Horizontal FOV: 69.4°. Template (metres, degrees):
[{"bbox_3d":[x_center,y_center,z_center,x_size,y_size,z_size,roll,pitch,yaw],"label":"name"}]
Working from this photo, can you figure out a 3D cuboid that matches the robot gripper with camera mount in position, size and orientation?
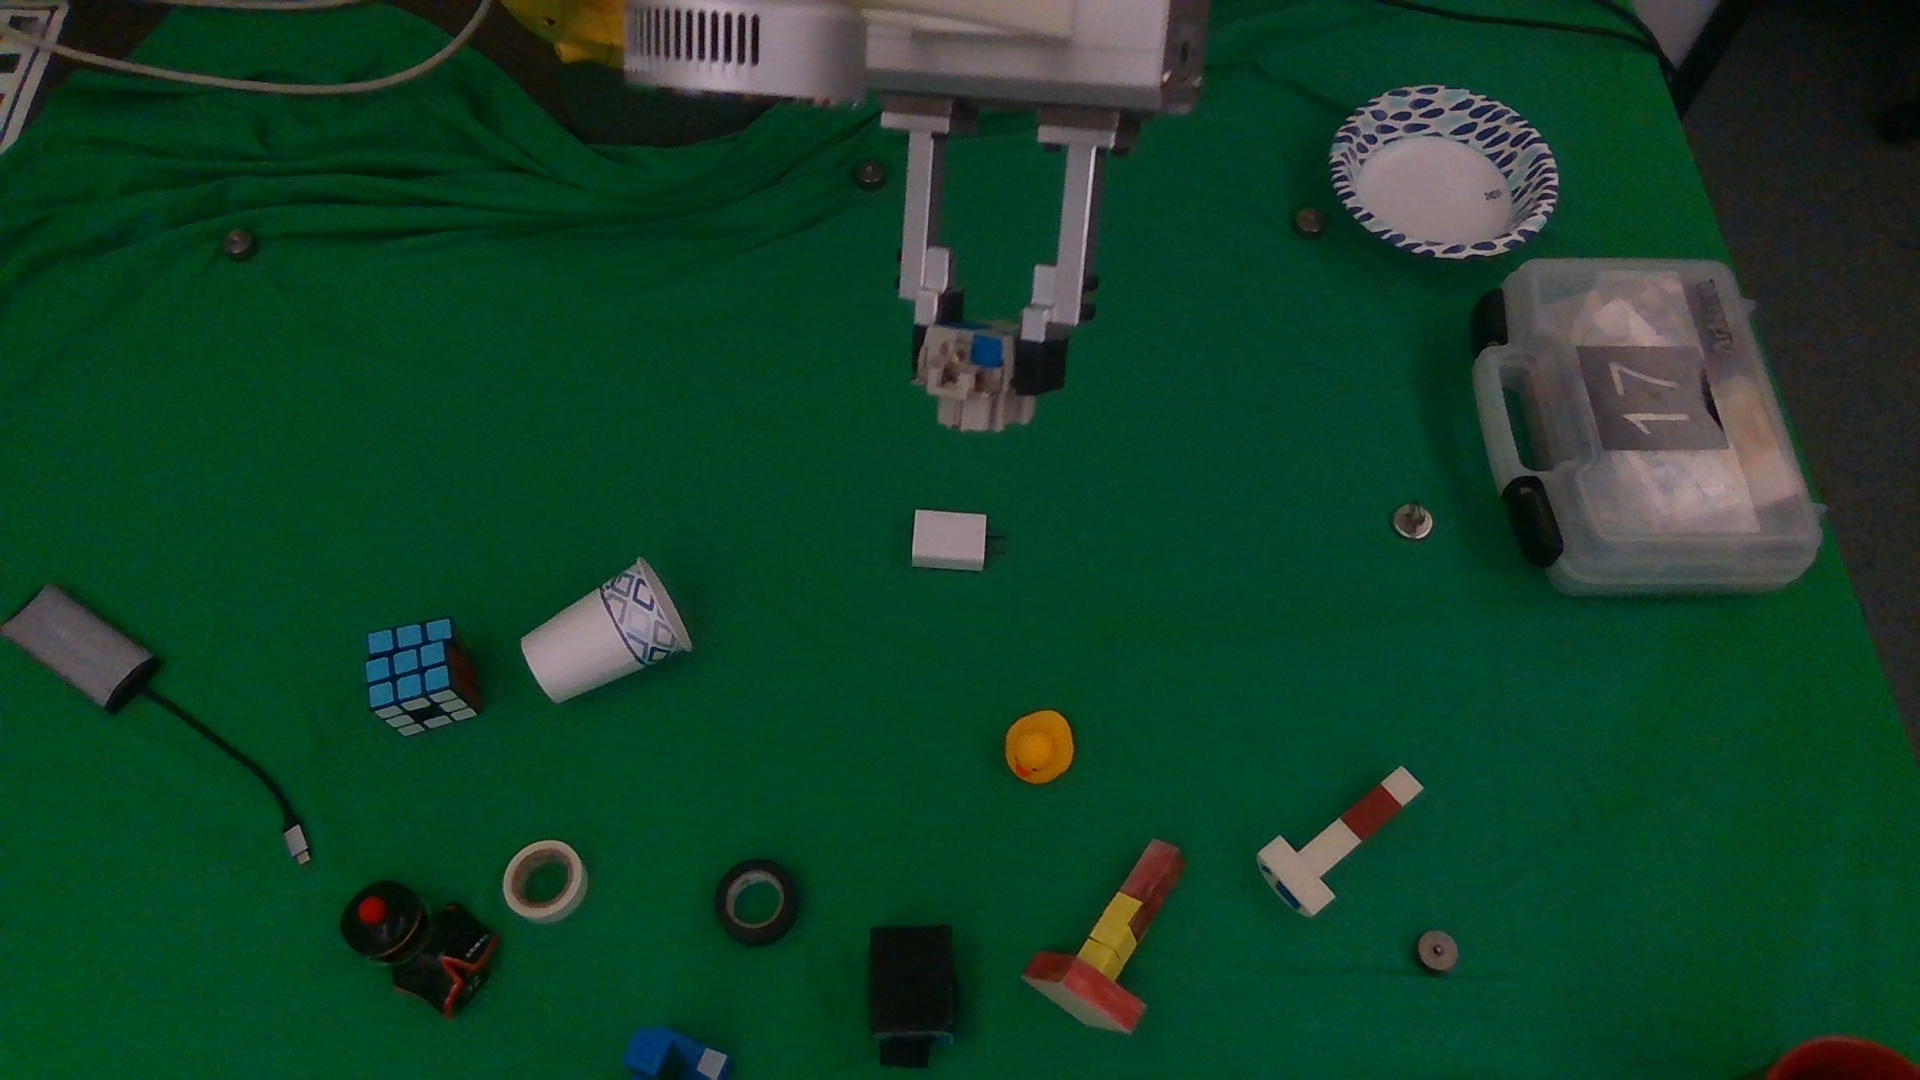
[{"bbox_3d":[-0.018,-0.115,0.391,0.119,0.158,0.193,14,18,27],"label":"robot gripper with camera mount"}]

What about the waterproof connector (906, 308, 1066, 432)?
[{"bbox_3d":[0.010,-0.060,0.484,0.035,0.037,0.065,15,18,23],"label":"waterproof connector"}]
